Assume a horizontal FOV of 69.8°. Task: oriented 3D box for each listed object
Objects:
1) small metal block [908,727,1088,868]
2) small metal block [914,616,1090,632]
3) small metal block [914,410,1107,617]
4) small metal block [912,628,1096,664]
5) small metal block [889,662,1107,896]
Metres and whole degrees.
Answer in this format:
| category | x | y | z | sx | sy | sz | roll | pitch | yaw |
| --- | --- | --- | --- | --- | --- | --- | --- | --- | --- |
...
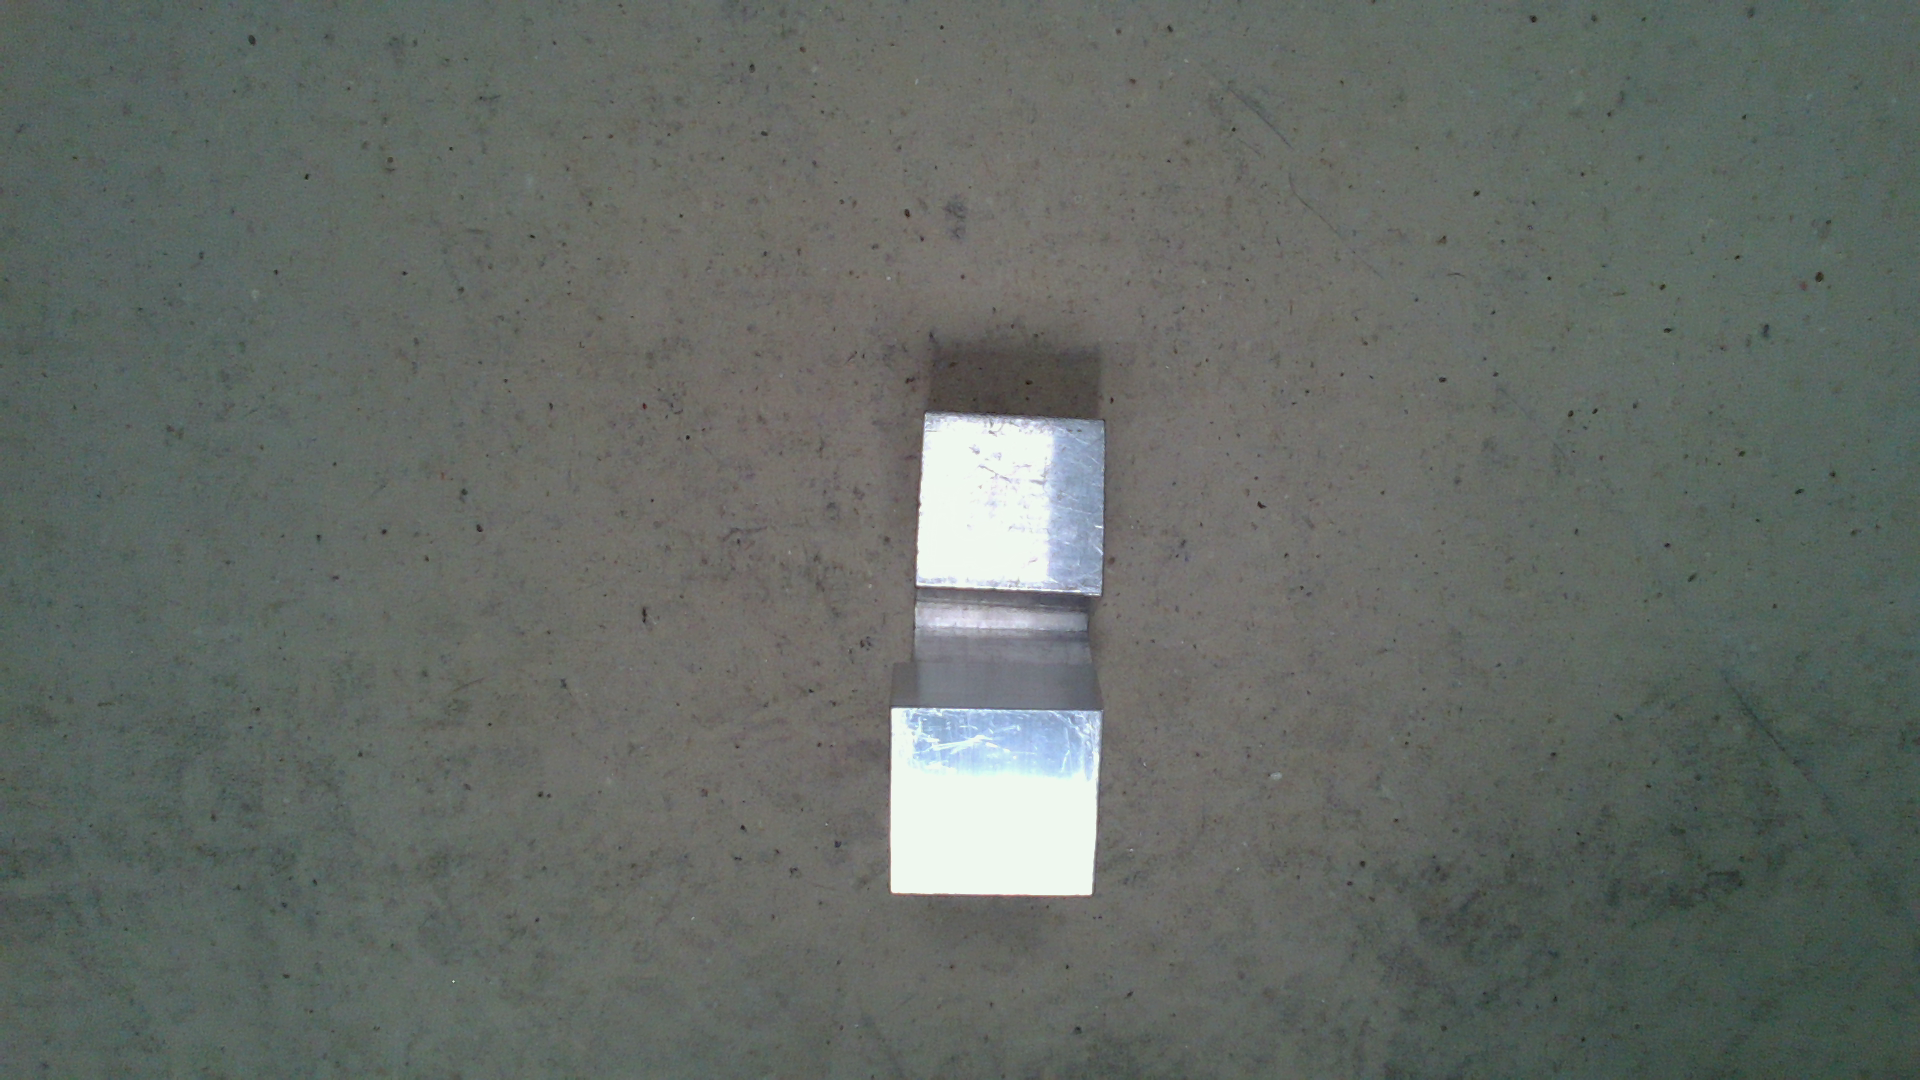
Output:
| category | x | y | z | sx | sy | sz | roll | pitch | yaw |
| --- | --- | --- | --- | --- | --- | --- | --- | --- | --- |
| small metal block | 0.010 | 0.077 | 0.409 | 0.050 | 0.025 | 0.050 | 2 | 151 | -1 |
| small metal block | 0.012 | 0.032 | 0.407 | 0.050 | 0.025 | 0.050 | 2 | 110 | -1 |
| small metal block | 0.014 | -0.007 | 0.379 | 0.050 | 0.025 | 0.050 | 2 | 74 | -1 |
| small metal block | 0.011 | 0.046 | 0.371 | 0.050 | 0.050 | 0.025 | 2 | 110 | -1 |
| small metal block | 0.008 | 0.058 | 0.336 | 0.050 | 0.025 | 0.050 | 1 | 110 | 0 |
